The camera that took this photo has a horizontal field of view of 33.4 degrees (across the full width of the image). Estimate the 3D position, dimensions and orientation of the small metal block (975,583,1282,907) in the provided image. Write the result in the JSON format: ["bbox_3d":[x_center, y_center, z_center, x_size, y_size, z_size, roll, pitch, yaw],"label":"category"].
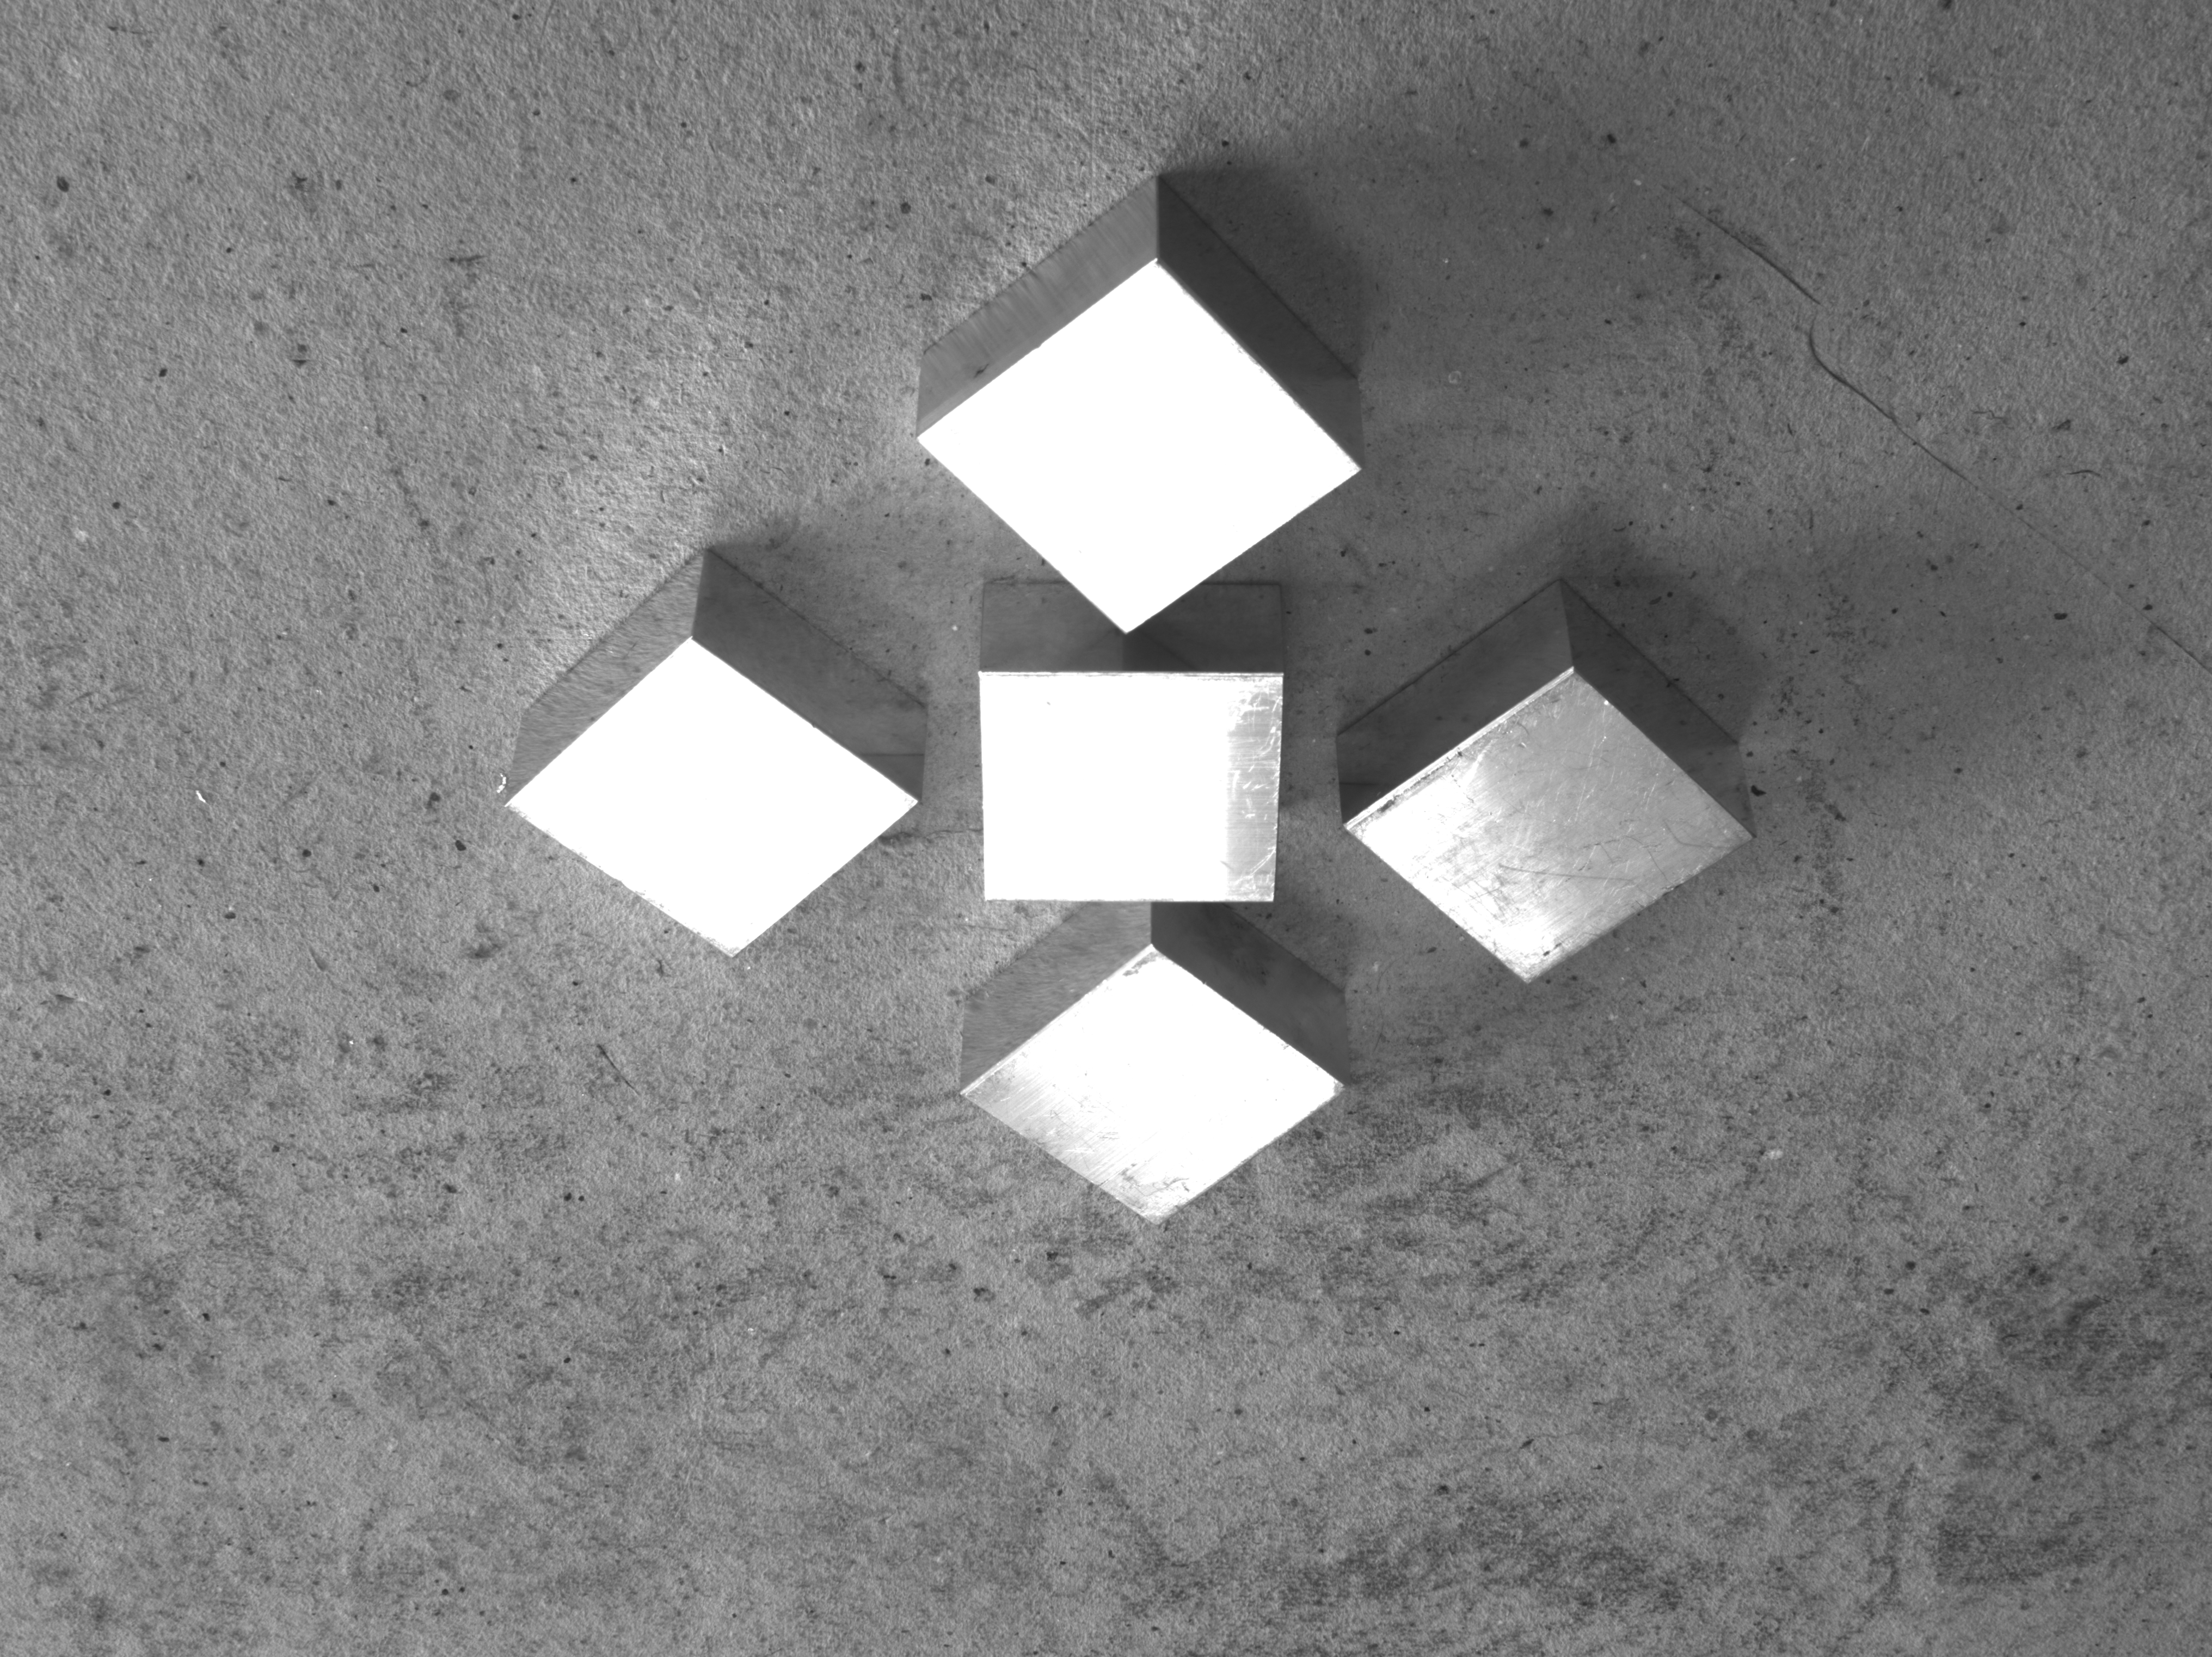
[{"bbox_3d":[0.004,-0.014,0.627,0.050,0.025,0.050,0,130,0],"label":"small metal block"}]

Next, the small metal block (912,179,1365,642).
[{"bbox_3d":[0.005,-0.065,0.584,0.050,0.025,0.050,-34,122,24],"label":"small metal block"}]

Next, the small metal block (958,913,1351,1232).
[{"bbox_3d":[0.009,0.040,0.673,0.050,0.025,0.050,36,121,-27],"label":"small metal block"}]

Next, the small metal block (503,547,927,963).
[{"bbox_3d":[-0.066,-0.012,0.629,0.050,0.025,0.050,36,120,-26],"label":"small metal block"}]

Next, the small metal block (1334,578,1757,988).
[{"bbox_3d":[0.075,-0.007,0.634,0.050,0.025,0.050,-36,122,26],"label":"small metal block"}]
